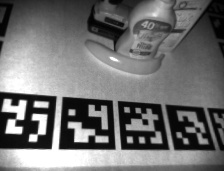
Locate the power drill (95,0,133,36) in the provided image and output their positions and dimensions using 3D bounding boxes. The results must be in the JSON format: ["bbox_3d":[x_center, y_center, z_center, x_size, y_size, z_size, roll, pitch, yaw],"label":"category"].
[{"bbox_3d":[0.049,-0.184,0.443,0.185,0.186,0.057,17,59,-10],"label":"power drill"}]

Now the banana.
[{"bbox_3d":[0.042,-0.046,0.494,0.198,0.039,0.074,10,63,-11],"label":"banana"}]

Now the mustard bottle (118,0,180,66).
[{"bbox_3d":[0.083,-0.108,0.439,0.097,0.191,0.058,6,62,-15],"label":"mustard bottle"}]

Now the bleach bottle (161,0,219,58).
[{"bbox_3d":[0.157,-0.163,0.463,0.103,0.250,0.067,8,56,-13],"label":"bleach bottle"}]
